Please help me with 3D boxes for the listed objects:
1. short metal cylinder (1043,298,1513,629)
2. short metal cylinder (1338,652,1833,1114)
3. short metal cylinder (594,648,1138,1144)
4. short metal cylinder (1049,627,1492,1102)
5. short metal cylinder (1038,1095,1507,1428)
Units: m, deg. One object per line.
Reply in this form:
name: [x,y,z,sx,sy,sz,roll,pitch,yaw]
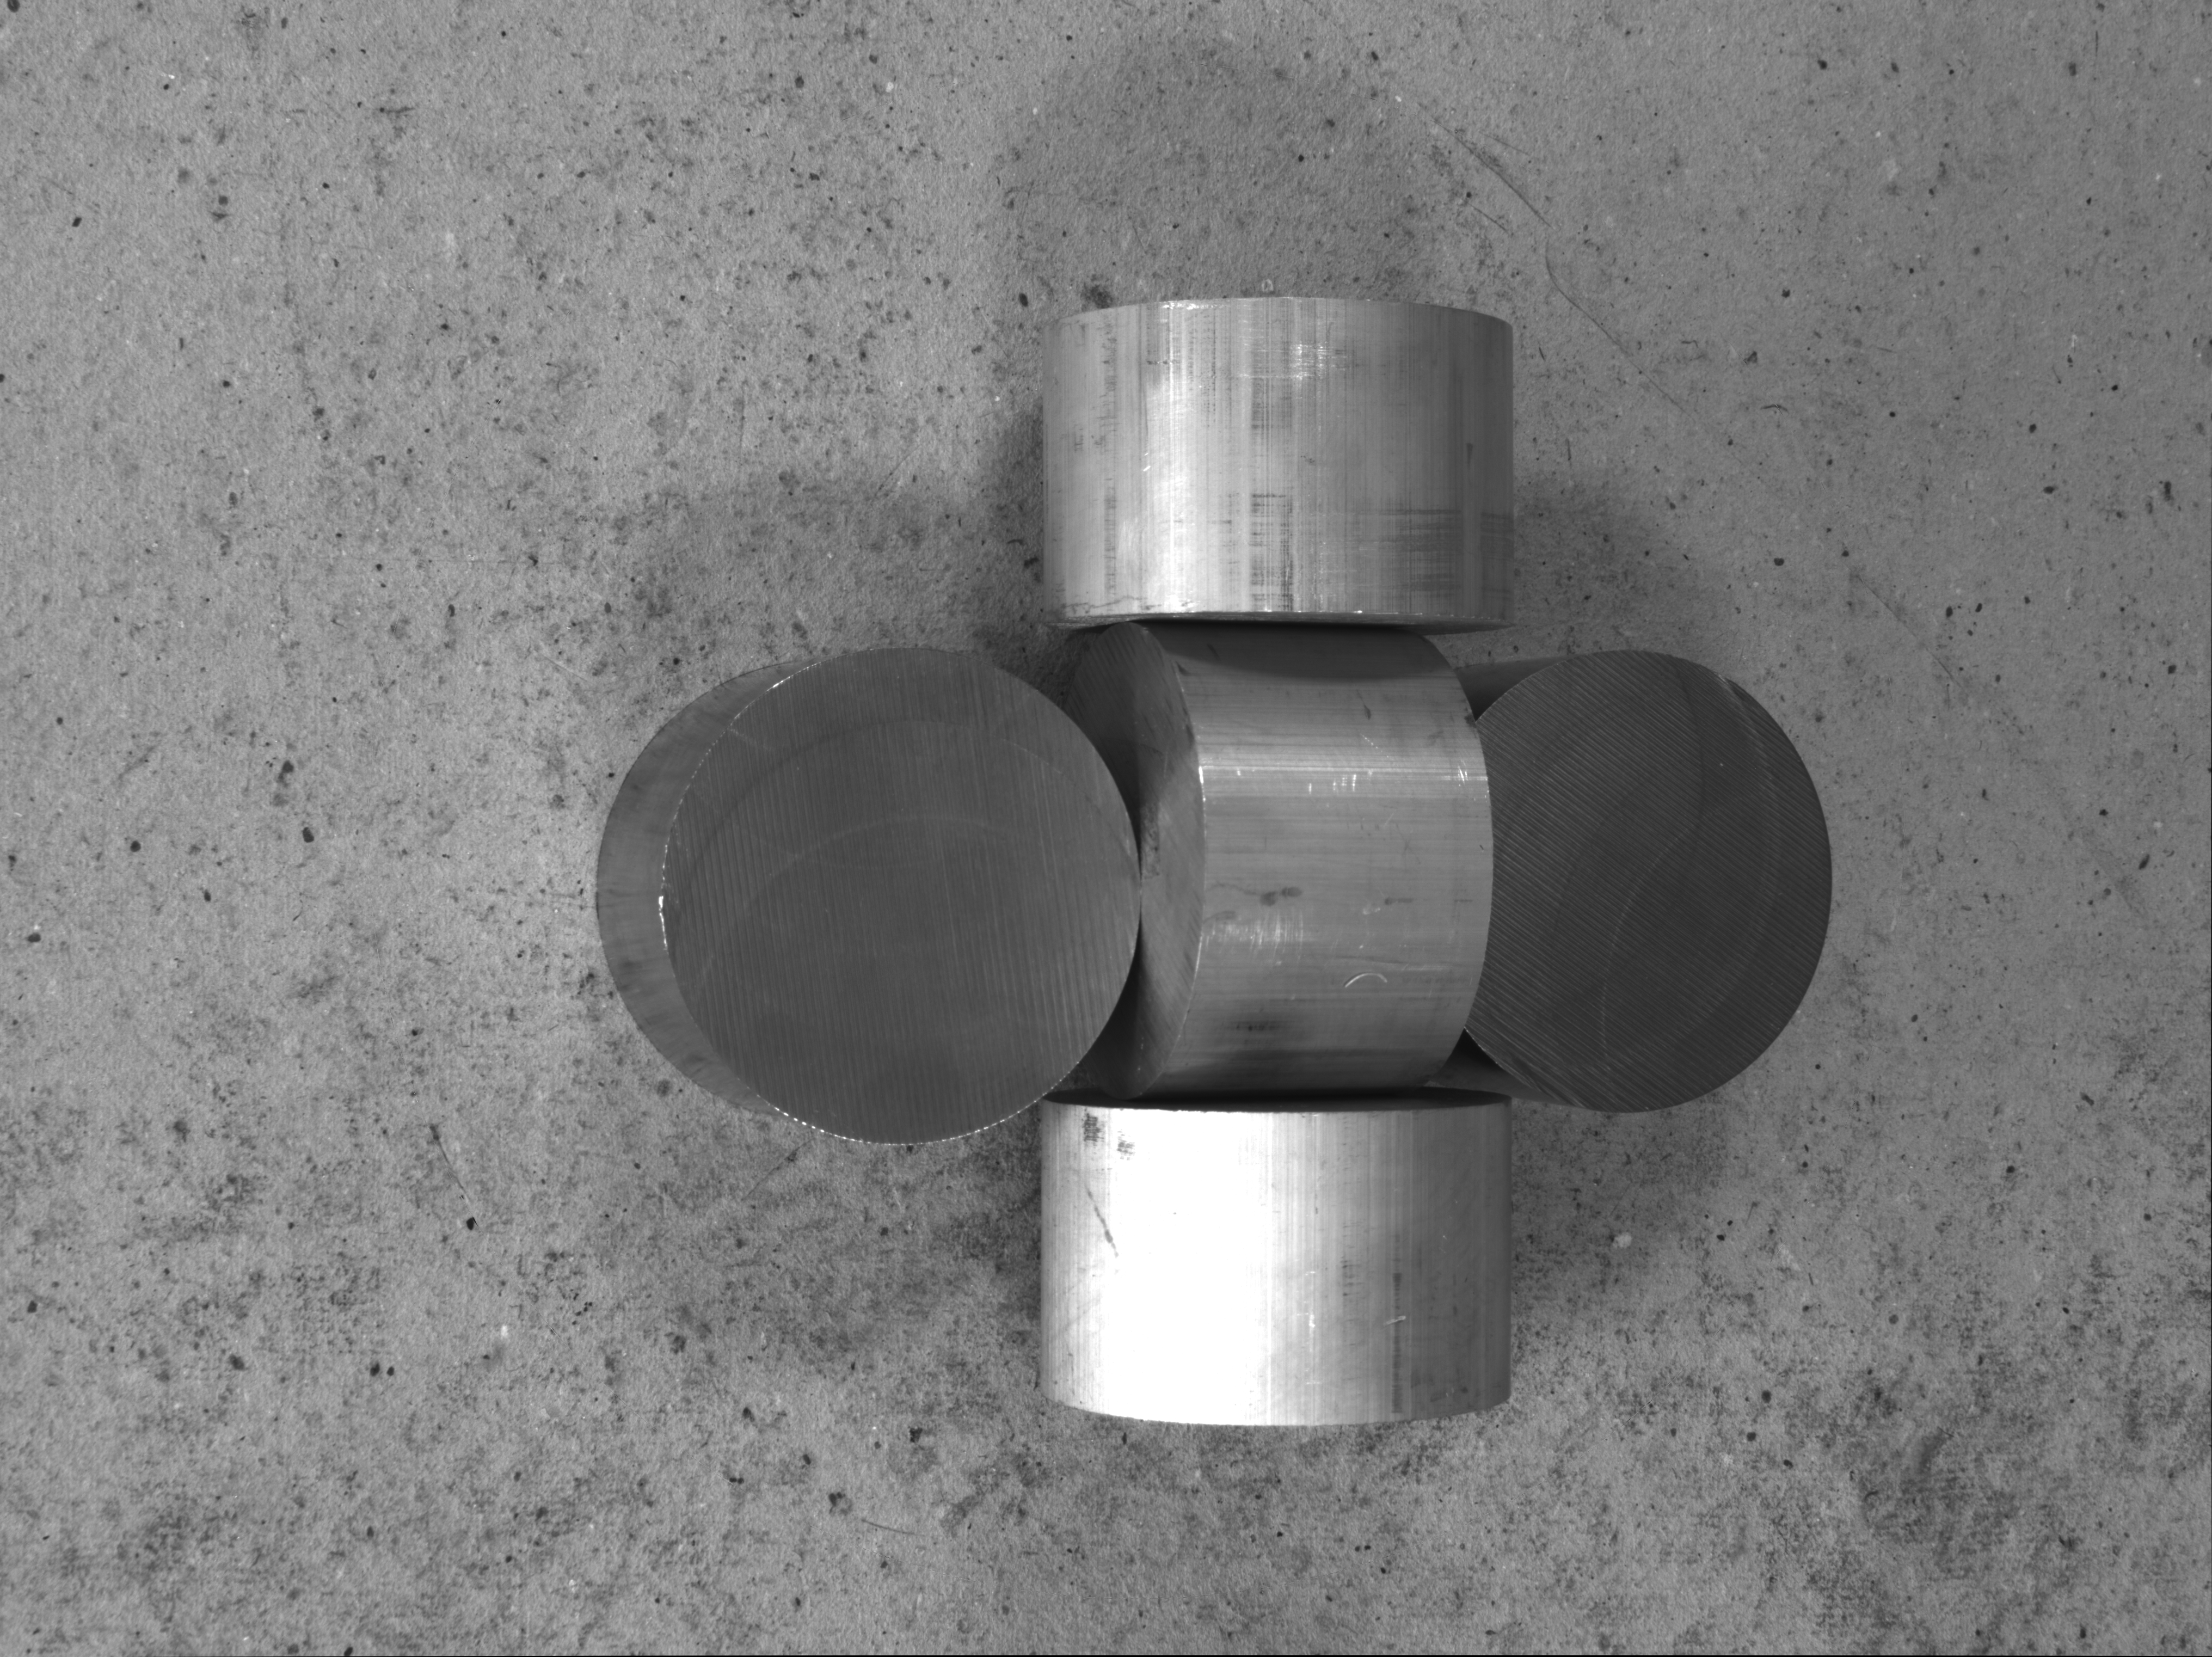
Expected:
short metal cylinder: [0.029,-0.059,0.625,0.080,0.080,0.050,0,90,-20]
short metal cylinder: [0.083,0.009,0.659,0.080,0.050,0.080,0,90,-20]
short metal cylinder: [-0.041,0.011,0.615,0.080,0.050,0.080,0,90,-21]
short metal cylinder: [0.026,0.006,0.624,0.050,0.080,0.080,1,90,-19]
short metal cylinder: [0.028,0.071,0.625,0.080,0.080,0.050,0,89,-20]
